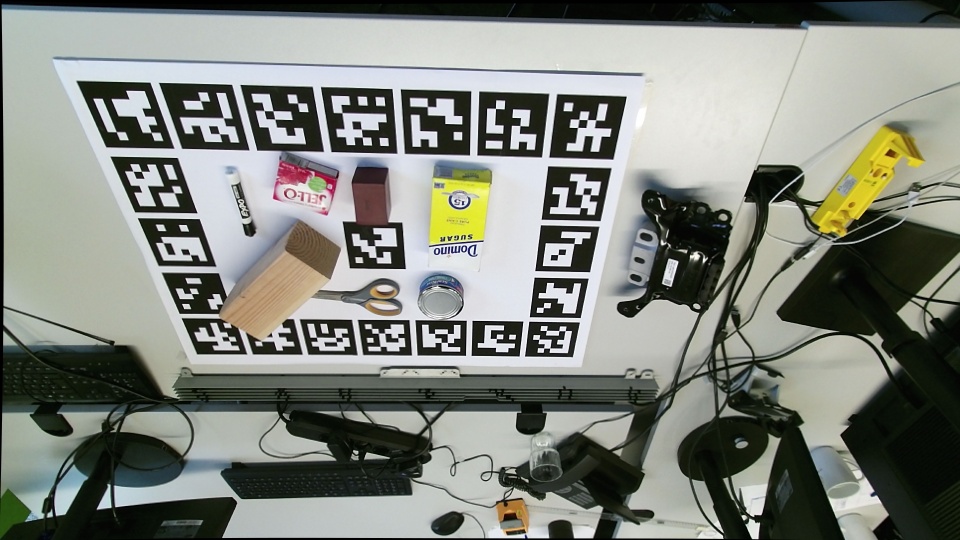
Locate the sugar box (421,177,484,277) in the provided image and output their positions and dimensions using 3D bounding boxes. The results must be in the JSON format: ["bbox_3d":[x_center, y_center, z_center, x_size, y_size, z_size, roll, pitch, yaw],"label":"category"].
[{"bbox_3d":[-0.050,-0.070,0.919,0.093,0.045,0.176,5,125,-5],"label":"sugar box"}]

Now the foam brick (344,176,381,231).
[{"bbox_3d":[-0.189,-0.109,0.875,0.053,0.051,0.078,2,125,-4],"label":"foam brick"}]

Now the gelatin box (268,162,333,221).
[{"bbox_3d":[-0.293,-0.126,0.876,0.090,0.030,0.073,16,122,-14],"label":"gelatin box"}]

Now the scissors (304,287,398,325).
[{"bbox_3d":[-0.258,0.064,1.023,0.204,0.016,0.088,6,125,-9],"label":"scissors"}]

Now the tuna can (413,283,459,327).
[{"bbox_3d":[-0.083,0.066,1.017,0.086,0.033,0.086,-1,125,-2],"label":"tuna can"}]

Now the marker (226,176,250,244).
[{"bbox_3d":[-0.404,-0.097,0.897,0.020,0.019,0.121,2,123,-4],"label":"marker"}]

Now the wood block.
[{"bbox_3d":[-0.371,0.030,0.952,0.206,0.090,0.090,-38,119,23],"label":"wood block"}]
